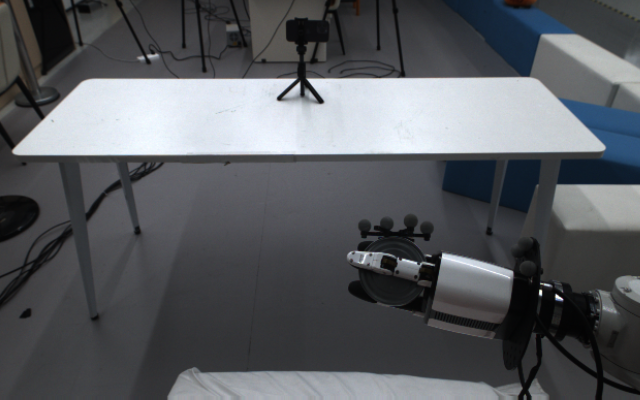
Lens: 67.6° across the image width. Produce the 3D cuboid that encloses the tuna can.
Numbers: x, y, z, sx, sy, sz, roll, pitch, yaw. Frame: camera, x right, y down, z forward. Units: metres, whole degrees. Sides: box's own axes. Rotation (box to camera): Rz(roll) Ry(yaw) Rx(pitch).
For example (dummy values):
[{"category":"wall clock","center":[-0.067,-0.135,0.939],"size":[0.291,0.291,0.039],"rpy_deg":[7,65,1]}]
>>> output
[{"category":"tuna can","center":[0.094,0.089,0.609],"size":[0.085,0.034,0.085],"rpy_deg":[-4,70,11]}]
